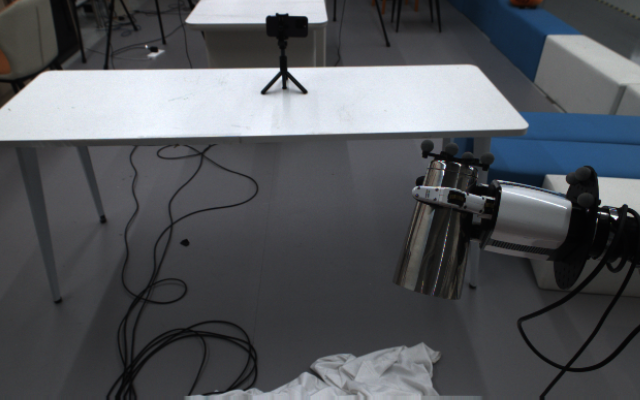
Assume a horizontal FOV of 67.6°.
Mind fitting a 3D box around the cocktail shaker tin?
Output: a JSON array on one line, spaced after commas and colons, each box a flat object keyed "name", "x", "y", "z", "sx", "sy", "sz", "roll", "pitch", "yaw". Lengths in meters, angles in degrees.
[{"name": "cocktail shaker tin", "x": 0.164, "y": 0.034, "z": 0.650, "sx": 0.093, "sy": 0.170, "sz": 0.093, "roll": 13, "pitch": 1, "yaw": 0}]
